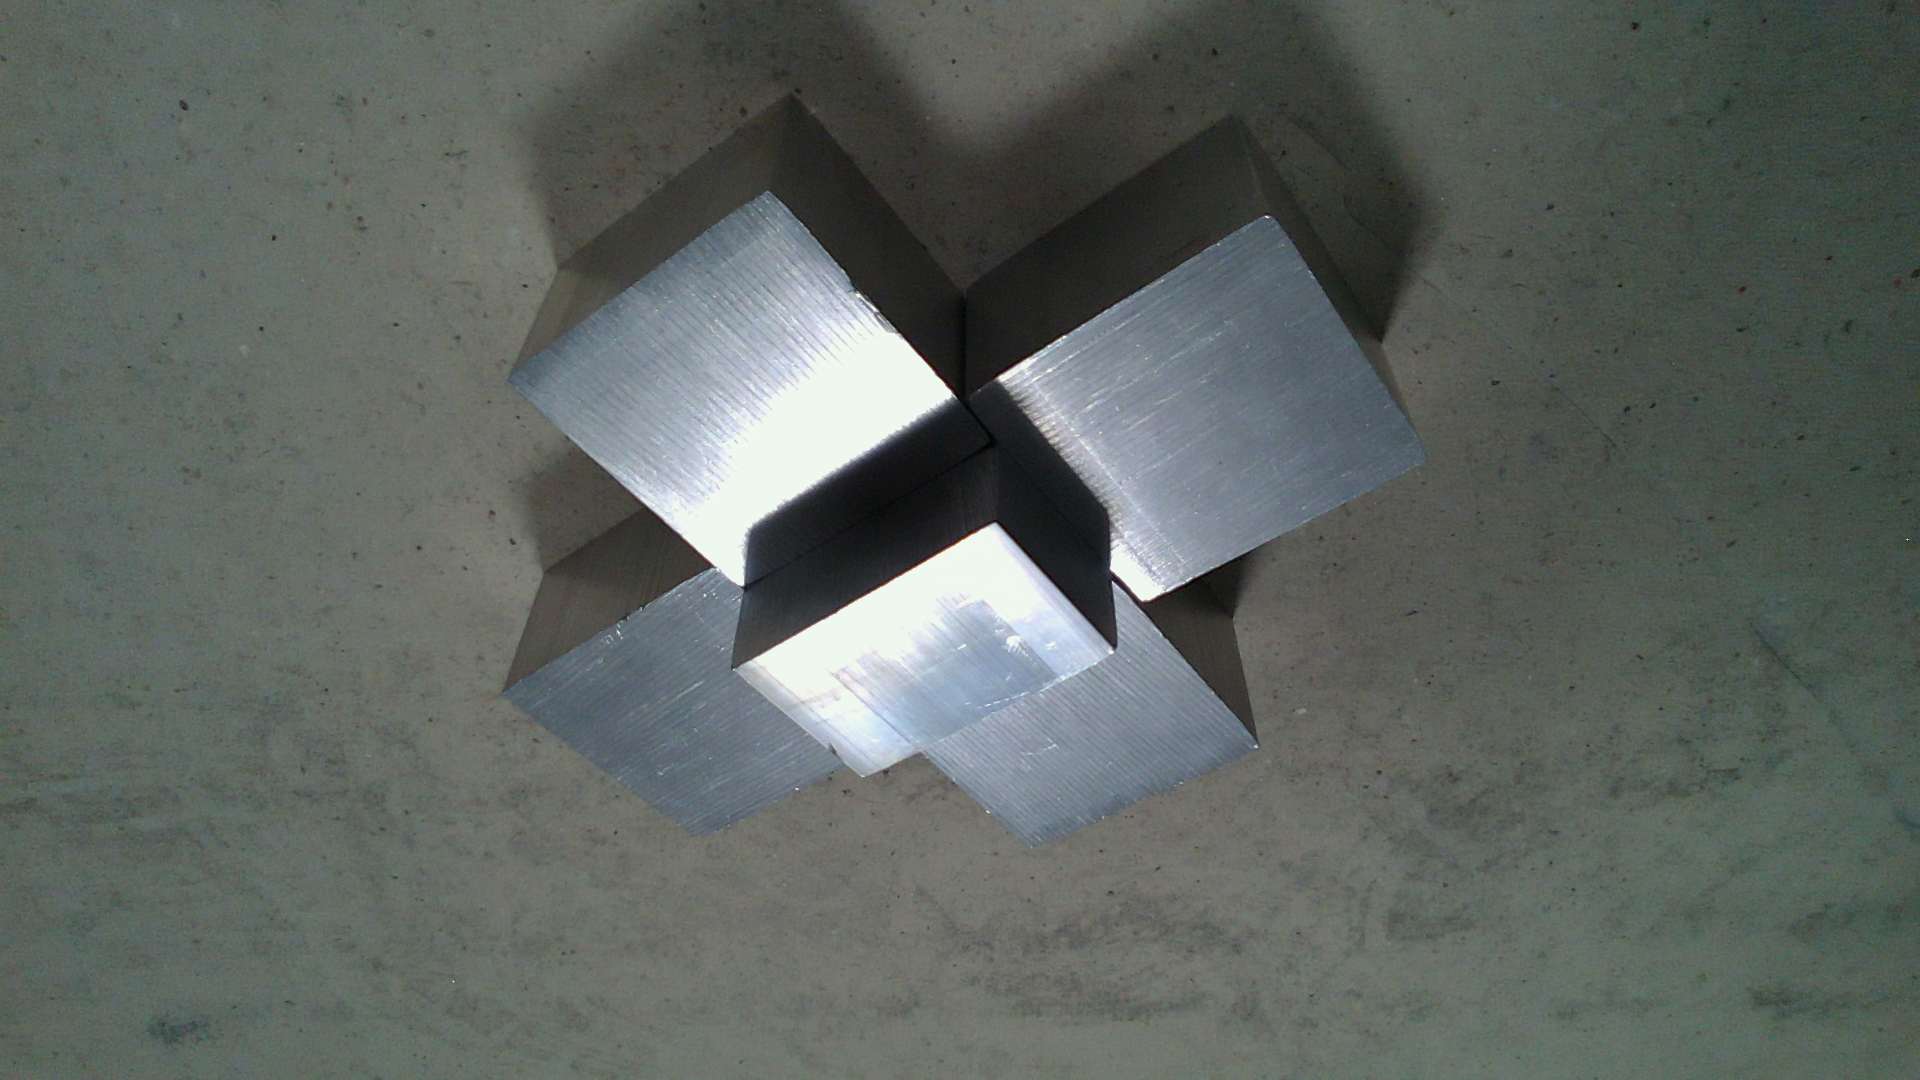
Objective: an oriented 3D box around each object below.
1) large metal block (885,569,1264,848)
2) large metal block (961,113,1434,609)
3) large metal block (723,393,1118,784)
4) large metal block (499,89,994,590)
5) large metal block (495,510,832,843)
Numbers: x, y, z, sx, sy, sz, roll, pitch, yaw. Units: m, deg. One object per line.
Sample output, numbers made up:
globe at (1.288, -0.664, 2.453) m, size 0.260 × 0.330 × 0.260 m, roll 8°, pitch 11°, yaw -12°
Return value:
large metal block at (0.030, 0.035, 0.403) m, size 0.080 × 0.050 × 0.080 m, roll -30°, pitch 124°, yaw 23°
large metal block at (0.056, -0.041, 0.339) m, size 0.080 × 0.050 × 0.080 m, roll -30°, pitch 124°, yaw 23°
large metal block at (-0.010, 0.004, 0.357) m, size 0.080 × 0.080 × 0.050 m, roll -30°, pitch 124°, yaw 23°
large metal block at (-0.048, -0.045, 0.335) m, size 0.080 × 0.050 × 0.080 m, roll -30°, pitch 124°, yaw 23°
large metal block at (-0.071, 0.033, 0.401) m, size 0.080 × 0.050 × 0.080 m, roll -30°, pitch 124°, yaw 23°
